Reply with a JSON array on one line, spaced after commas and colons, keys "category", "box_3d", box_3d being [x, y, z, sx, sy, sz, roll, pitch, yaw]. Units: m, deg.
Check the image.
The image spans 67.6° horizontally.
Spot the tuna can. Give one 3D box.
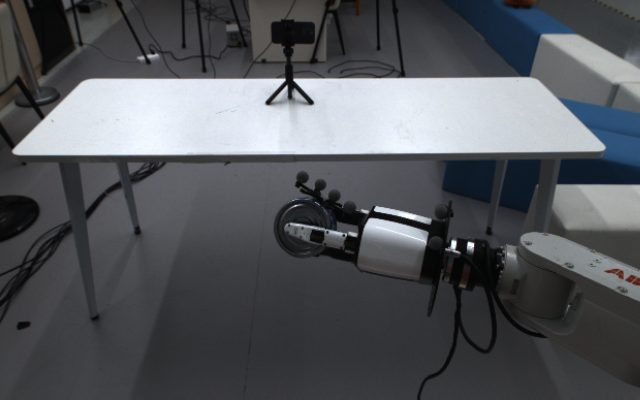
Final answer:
[{"category": "tuna can", "box_3d": [-0.020, 0.038, 0.683, 0.085, 0.085, 0.034, 12, 4, 14]}]
